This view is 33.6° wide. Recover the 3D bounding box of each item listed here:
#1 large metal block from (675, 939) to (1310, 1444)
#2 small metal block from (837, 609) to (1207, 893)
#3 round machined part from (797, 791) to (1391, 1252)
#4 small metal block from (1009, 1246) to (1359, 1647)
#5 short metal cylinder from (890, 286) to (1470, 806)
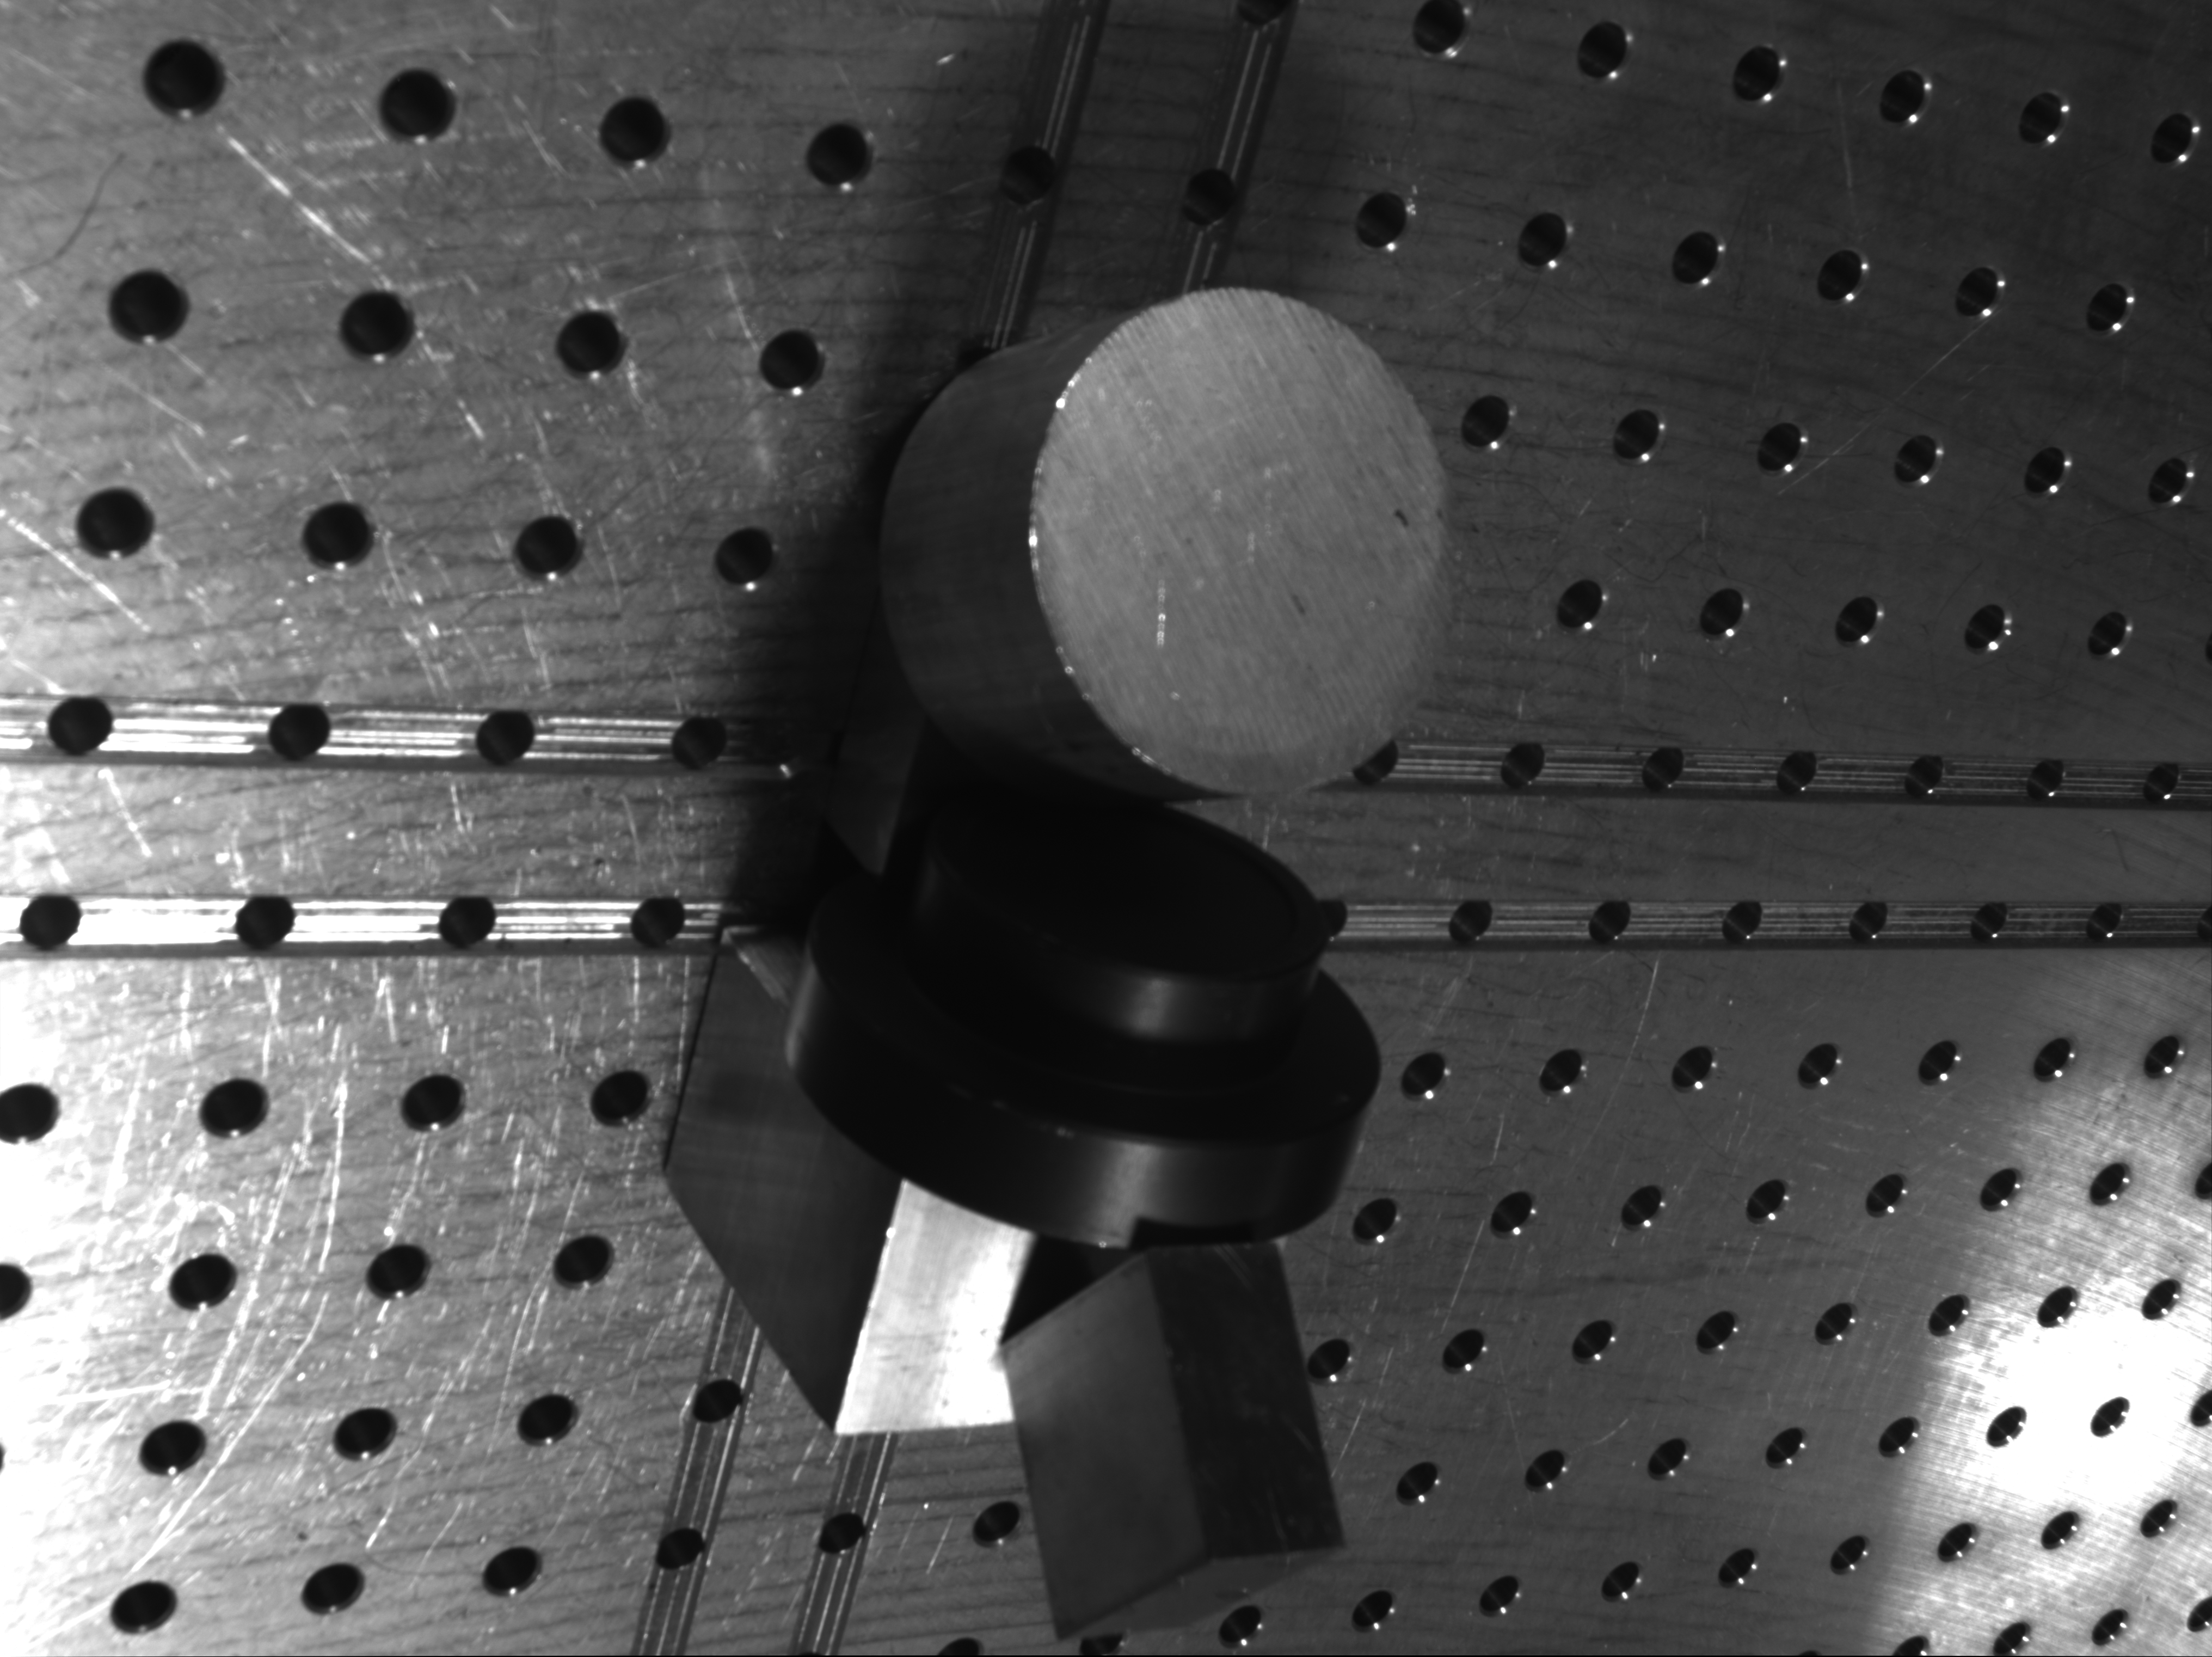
[{"bbox_3d":[-0.020,0.061,0.643,0.080,0.080,0.050,1,118,-31],"label":"large metal block"},{"bbox_3d":[-0.014,-0.017,0.635,0.050,0.025,0.050,1,118,-31],"label":"small metal block"},{"bbox_3d":[0.001,0.027,0.610,0.098,0.098,0.042,1,118,-31],"label":"round machined part"},{"bbox_3d":[0.011,0.099,0.587,0.025,0.050,0.050,1,156,-31],"label":"small metal block"},{"bbox_3d":[0.012,-0.044,0.595,0.080,0.050,0.080,1,87,-31],"label":"short metal cylinder"}]
